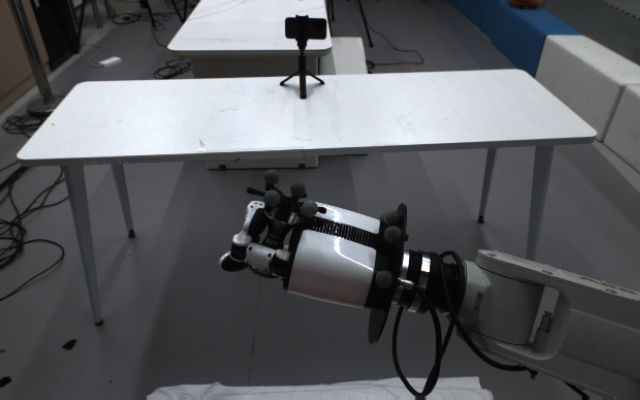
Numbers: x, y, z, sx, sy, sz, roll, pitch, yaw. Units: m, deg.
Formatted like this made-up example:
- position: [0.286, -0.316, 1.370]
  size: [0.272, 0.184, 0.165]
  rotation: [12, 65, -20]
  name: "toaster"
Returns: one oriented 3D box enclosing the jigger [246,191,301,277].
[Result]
- position: [-0.050, 0.047, 0.539]
  size: [0.043, 0.071, 0.043]
  rotation: [18, 17, -6]
  name: "jigger"
